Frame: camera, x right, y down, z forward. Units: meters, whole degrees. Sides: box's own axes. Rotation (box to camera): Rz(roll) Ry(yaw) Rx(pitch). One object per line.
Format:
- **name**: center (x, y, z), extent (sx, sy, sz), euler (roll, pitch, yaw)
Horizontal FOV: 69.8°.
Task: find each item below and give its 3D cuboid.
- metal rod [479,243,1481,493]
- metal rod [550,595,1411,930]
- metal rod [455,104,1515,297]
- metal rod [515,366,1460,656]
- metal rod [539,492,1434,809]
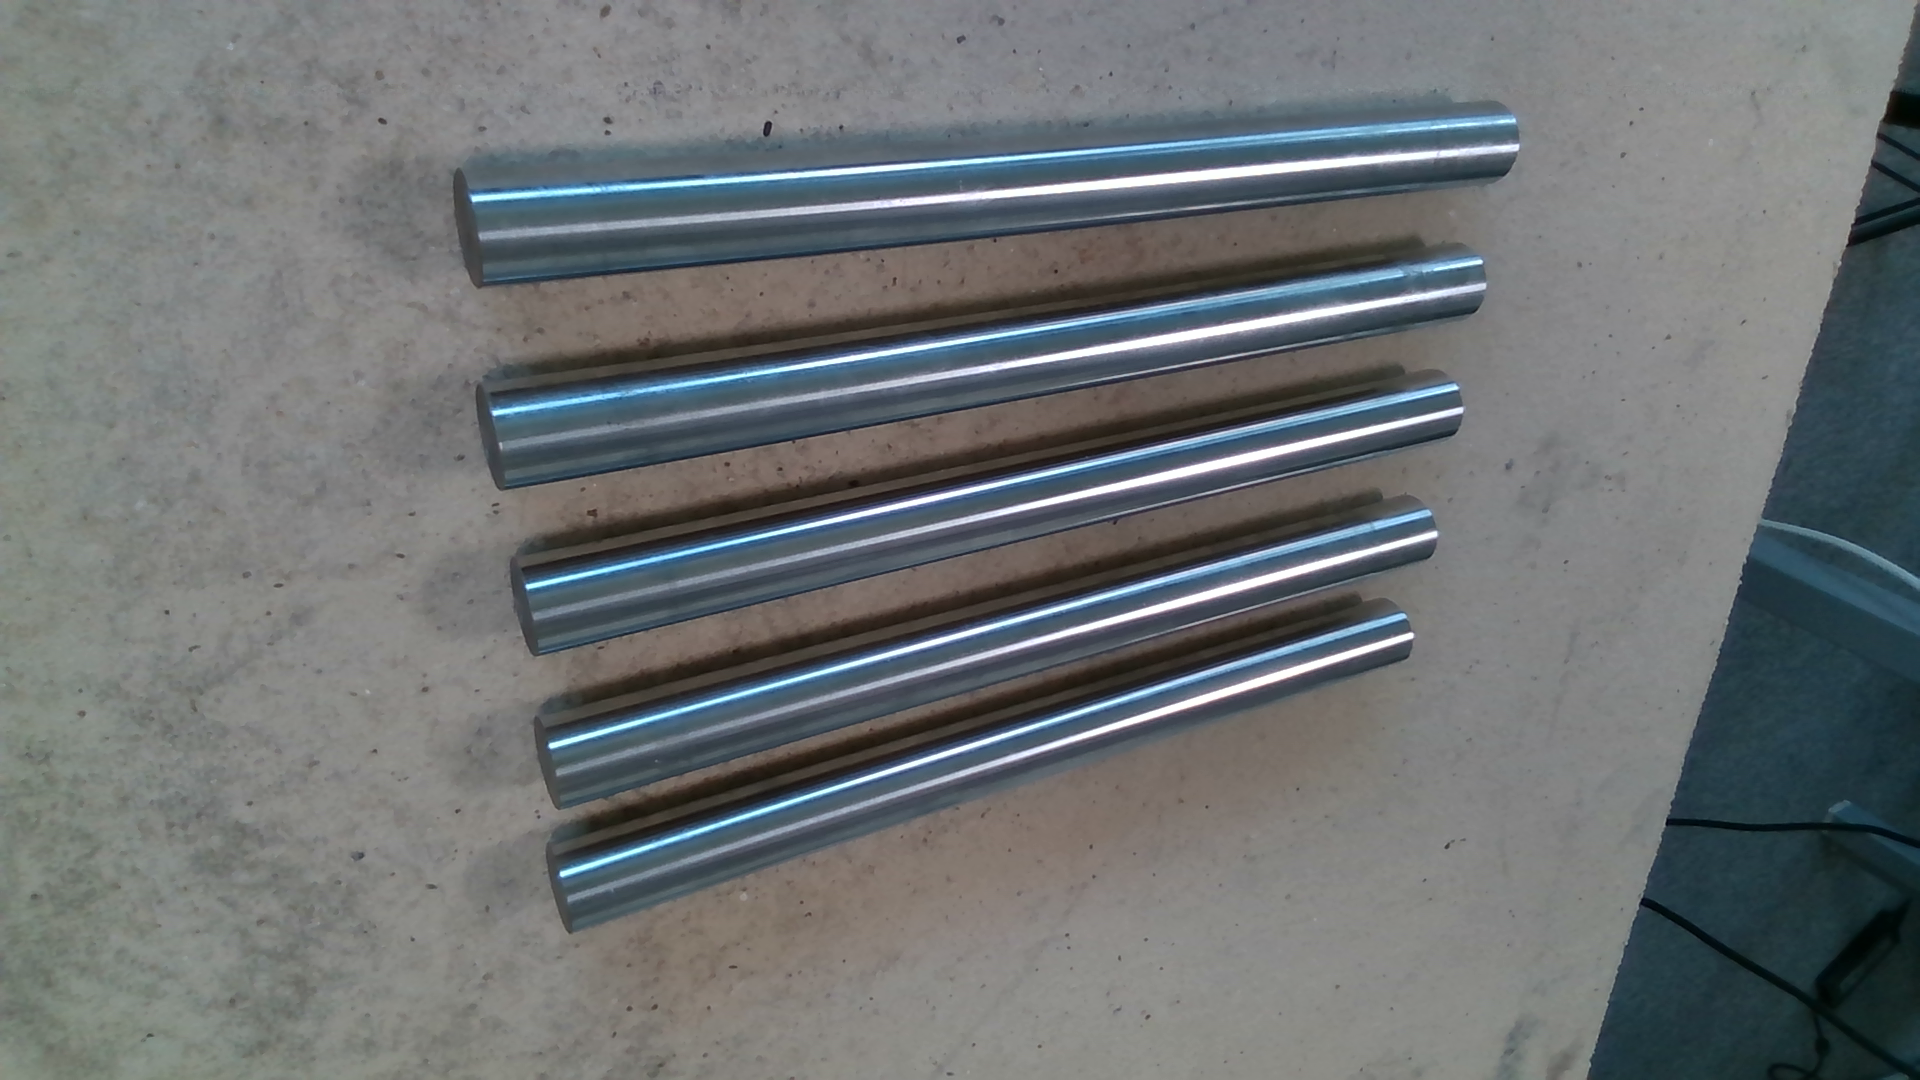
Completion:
- **metal rod**: center (0.026, -0.053, 0.377), extent (0.300, 0.025, 0.025), euler (-13, 121, -26)
- **metal rod**: center (0.024, 0.063, 0.439), extent (0.300, 0.025, 0.025), euler (-13, 121, -26)
- **metal rod**: center (0.028, -0.092, 0.356), extent (0.300, 0.025, 0.025), euler (-12, 121, -26)
- **metal rod**: center (0.027, -0.015, 0.398), extent (0.300, 0.025, 0.025), euler (-13, 121, -26)
- **metal rod**: center (0.026, 0.026, 0.420), extent (0.300, 0.025, 0.025), euler (-13, 121, -26)
